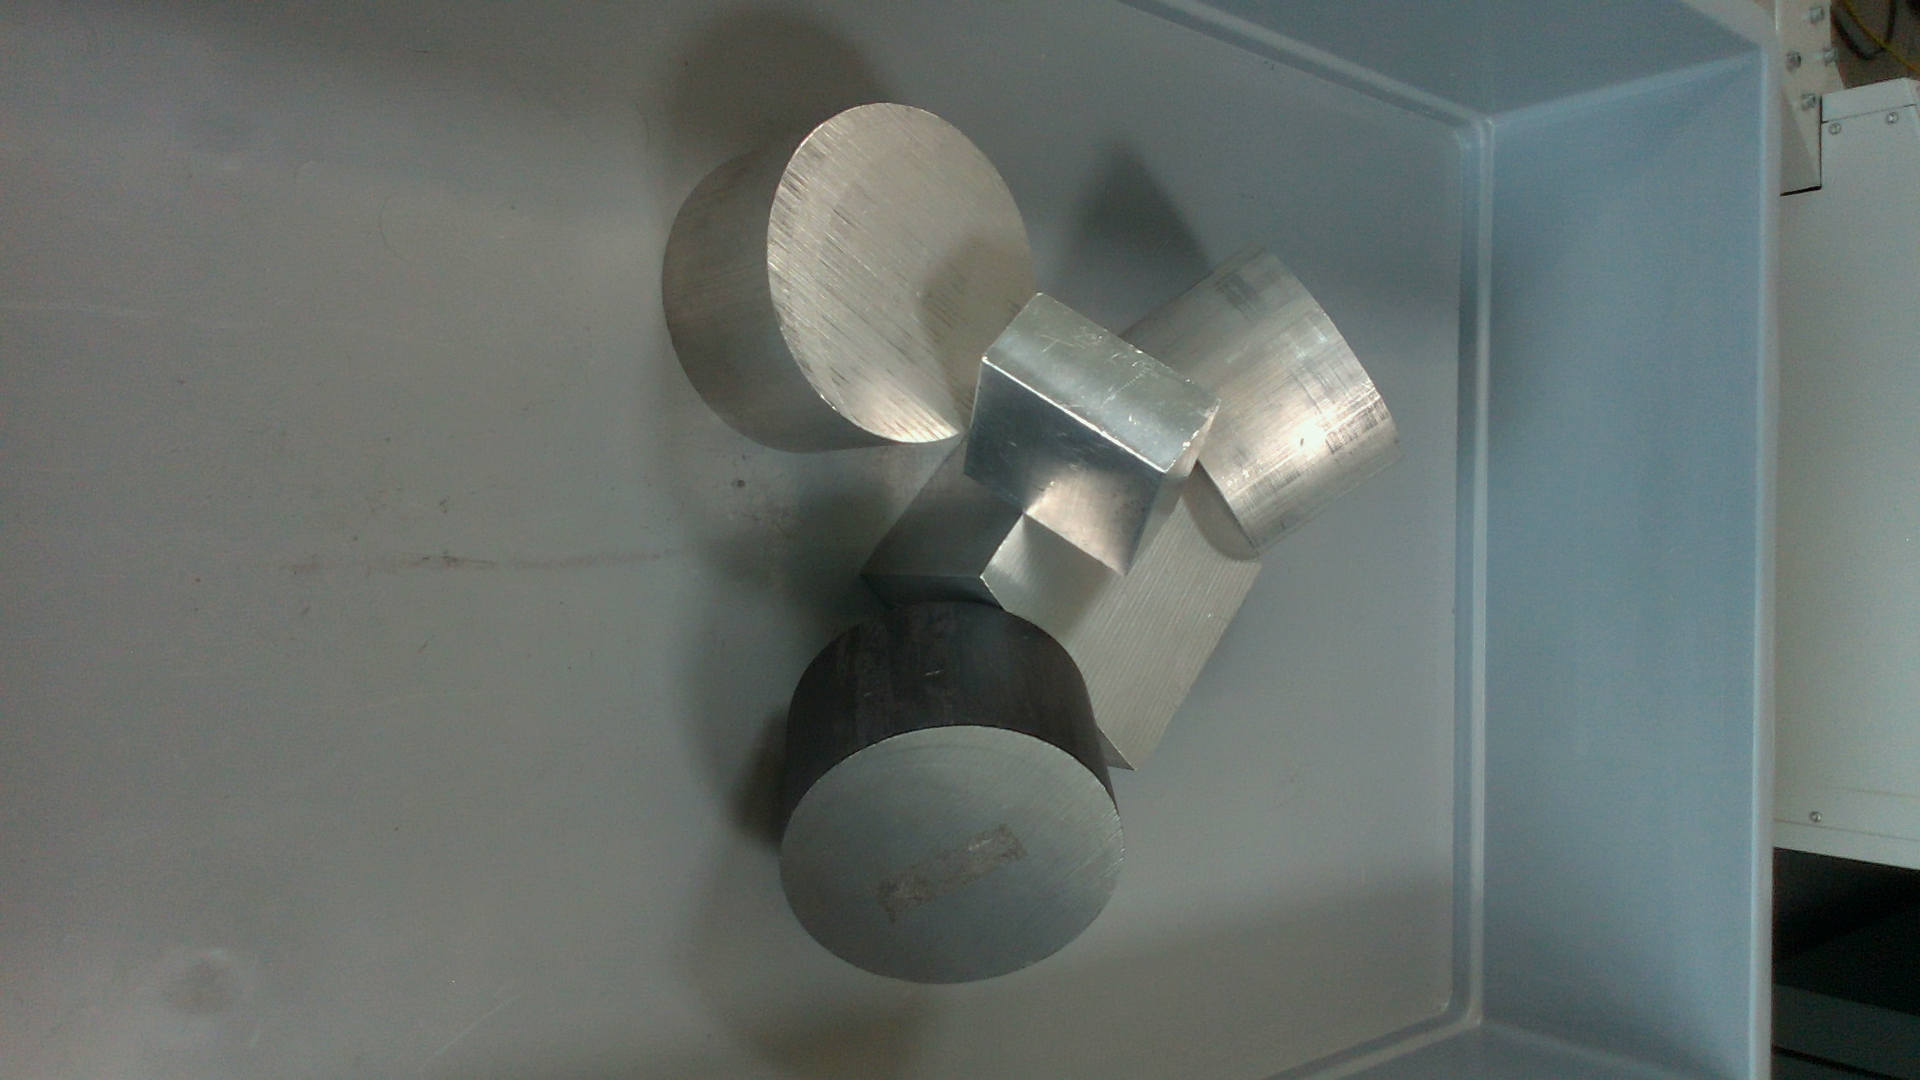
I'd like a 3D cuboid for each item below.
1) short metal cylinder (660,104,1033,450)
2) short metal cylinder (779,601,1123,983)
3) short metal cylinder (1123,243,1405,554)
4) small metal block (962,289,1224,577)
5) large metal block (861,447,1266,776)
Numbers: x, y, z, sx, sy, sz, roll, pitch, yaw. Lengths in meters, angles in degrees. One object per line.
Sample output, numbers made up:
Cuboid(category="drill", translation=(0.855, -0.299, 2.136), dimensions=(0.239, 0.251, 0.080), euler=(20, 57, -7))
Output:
Cuboid(category="short metal cylinder", translation=(-0.028, -0.064, 0.348), dimensions=(0.080, 0.050, 0.080), euler=(0, 90, -40))
Cuboid(category="short metal cylinder", translation=(-0.003, 0.062, 0.341), dimensions=(0.080, 0.050, 0.080), euler=(-2, 121, -4))
Cuboid(category="short metal cylinder", translation=(0.089, -0.042, 0.417), dimensions=(0.050, 0.080, 0.080), euler=(-35, 118, 8))
Cuboid(category="small metal block", translation=(0.030, -0.025, 0.332), dimensions=(0.050, 0.050, 0.025), euler=(33, 64, 12))
Cuboid(category="large metal block", translation=(0.032, 0.008, 0.395), dimensions=(0.080, 0.050, 0.080), euler=(52, 60, -27))
